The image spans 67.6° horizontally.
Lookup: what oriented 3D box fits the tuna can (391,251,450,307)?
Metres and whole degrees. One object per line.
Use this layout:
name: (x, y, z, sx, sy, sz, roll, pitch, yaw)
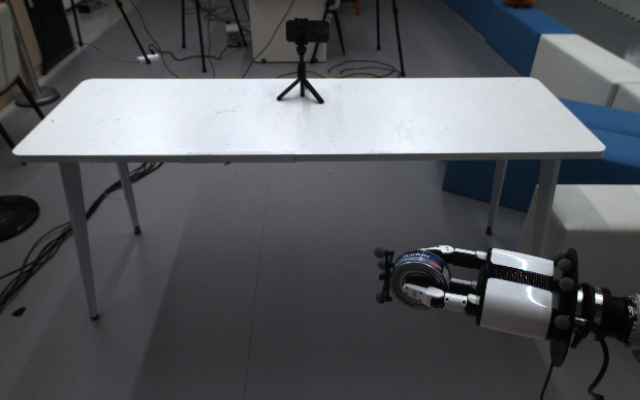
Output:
tuna can: (0.147, 0.112, 0.707, 0.085, 0.085, 0.034, 12, 27, 14)
